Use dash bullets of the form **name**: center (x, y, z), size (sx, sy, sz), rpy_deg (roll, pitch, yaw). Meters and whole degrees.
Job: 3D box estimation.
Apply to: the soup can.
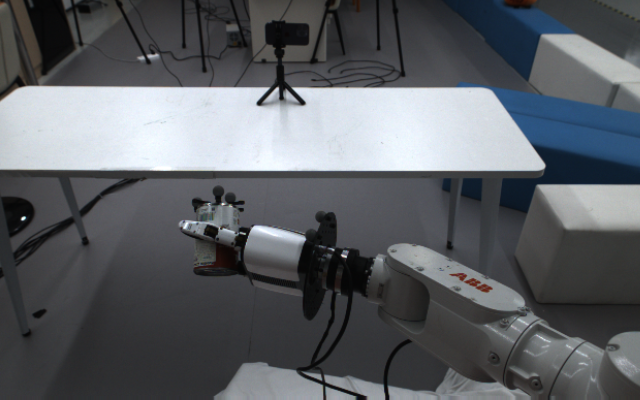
- **soup can**: center (-0.156, 0.062, 0.737), size (0.067, 0.067, 0.101), rpy_deg (-1, 71, -5)
